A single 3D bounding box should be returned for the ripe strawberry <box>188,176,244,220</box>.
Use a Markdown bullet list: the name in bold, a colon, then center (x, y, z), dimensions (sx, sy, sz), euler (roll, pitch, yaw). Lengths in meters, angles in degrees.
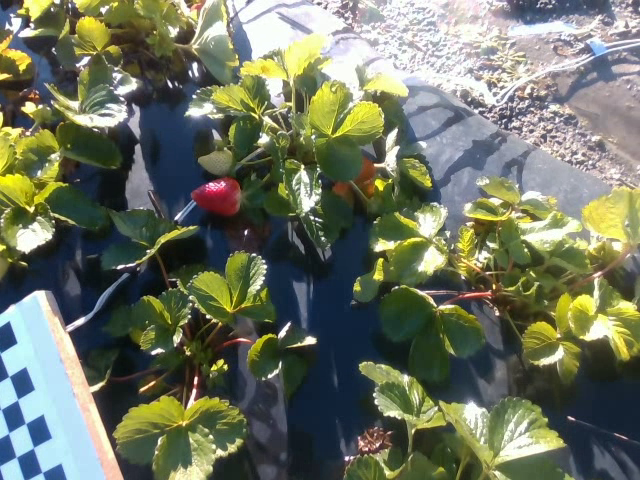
- **ripe strawberry**: center (-0.128, -0.056, 0.764), dimensions (0.080, 0.062, 0.040), euler (1, -1, -21)
